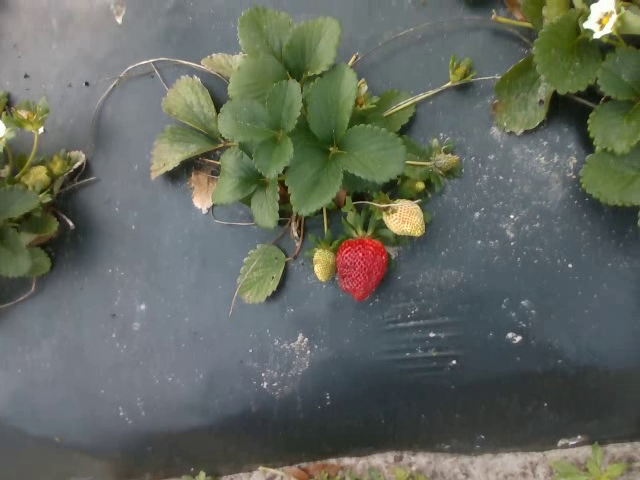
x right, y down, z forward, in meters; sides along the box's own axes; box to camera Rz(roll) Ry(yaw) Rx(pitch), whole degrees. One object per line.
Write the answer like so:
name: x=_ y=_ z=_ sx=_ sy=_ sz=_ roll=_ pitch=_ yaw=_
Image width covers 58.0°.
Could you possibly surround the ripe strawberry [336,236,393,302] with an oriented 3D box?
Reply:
ripe strawberry: x=0.033 y=0.026 z=0.450 sx=0.046 sy=0.059 sz=0.046 roll=-8 pitch=-38 yaw=21
